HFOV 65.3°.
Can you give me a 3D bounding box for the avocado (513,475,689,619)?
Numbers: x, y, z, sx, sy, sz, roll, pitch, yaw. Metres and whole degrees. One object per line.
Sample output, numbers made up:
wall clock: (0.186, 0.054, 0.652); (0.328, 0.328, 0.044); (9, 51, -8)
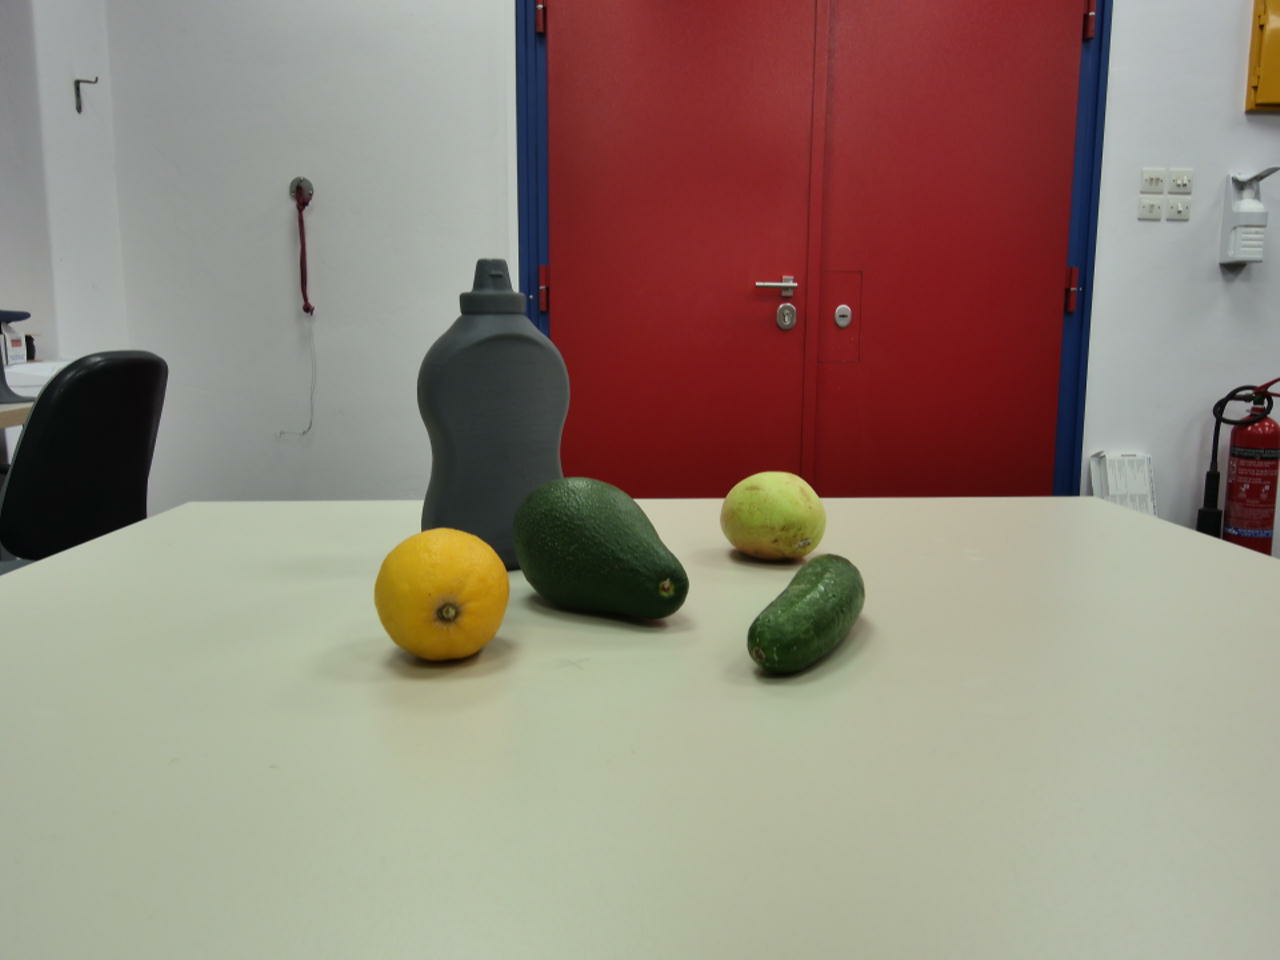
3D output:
avocado: (-0.025, 0.035, 0.529); (0.072, 0.071, 0.110); (-2, 7, -23)
